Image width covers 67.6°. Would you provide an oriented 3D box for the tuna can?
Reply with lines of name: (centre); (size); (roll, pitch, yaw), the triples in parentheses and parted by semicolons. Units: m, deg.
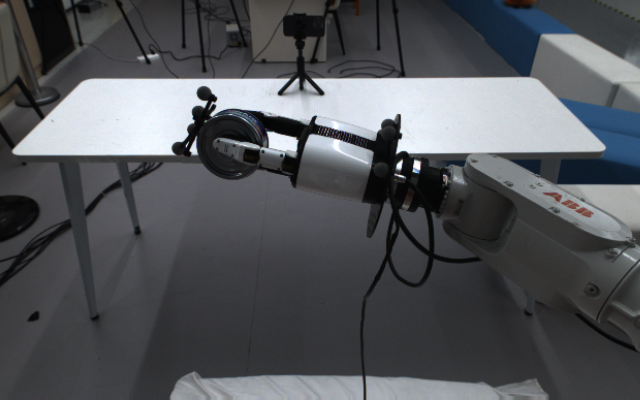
tuna can: (-0.106, -0.066, 0.606); (0.085, 0.085, 0.034); (3, 21, 2)
